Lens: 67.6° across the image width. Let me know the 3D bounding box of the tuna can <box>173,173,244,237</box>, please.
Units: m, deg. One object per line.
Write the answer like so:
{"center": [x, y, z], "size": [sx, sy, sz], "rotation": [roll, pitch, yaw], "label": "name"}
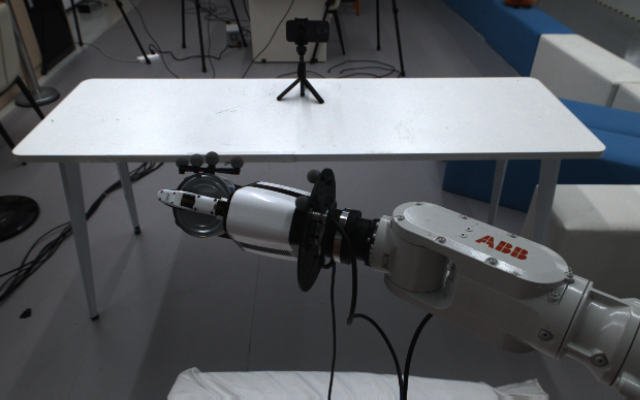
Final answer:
{"center": [-0.150, 0.009, 0.649], "size": [0.085, 0.085, 0.034], "rotation": [11, -1, 13], "label": "tuna can"}
